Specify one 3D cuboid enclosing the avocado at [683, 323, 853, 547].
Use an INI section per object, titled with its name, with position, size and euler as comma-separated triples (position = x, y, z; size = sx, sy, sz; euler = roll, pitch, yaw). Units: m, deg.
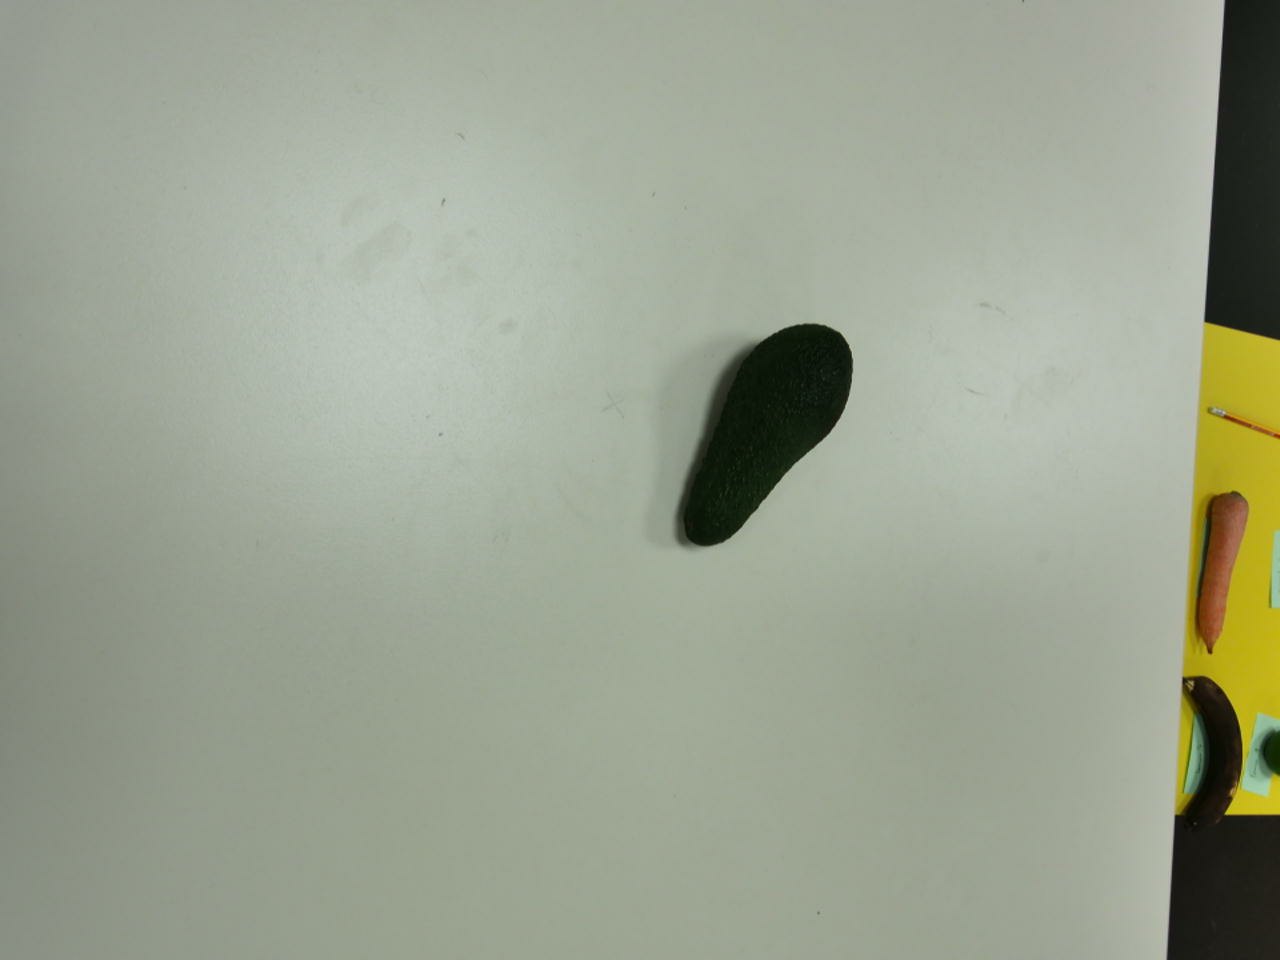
[avocado]
position = 0.075, -0.023, 0.557
size = 0.063, 0.067, 0.141
euler = 22, 83, -21
